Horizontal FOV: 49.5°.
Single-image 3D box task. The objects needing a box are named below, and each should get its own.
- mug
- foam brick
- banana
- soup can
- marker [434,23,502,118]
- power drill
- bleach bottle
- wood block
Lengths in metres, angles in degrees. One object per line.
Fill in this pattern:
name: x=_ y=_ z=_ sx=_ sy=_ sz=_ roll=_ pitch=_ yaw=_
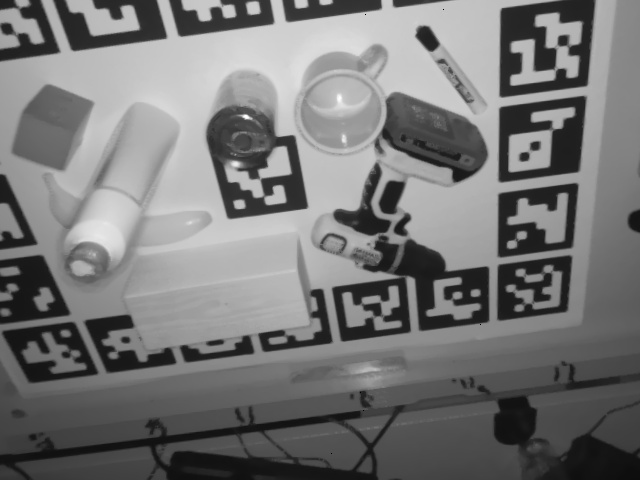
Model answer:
mug: x=0.044 y=-0.147 z=0.717 sx=0.094 sy=0.082 sz=0.116 roll=33 pitch=113 yaw=-19
foam brick: x=-0.267 y=-0.125 z=0.718 sx=0.053 sy=0.078 sz=0.050 roll=22 pitch=122 yaw=-19
banana: x=-0.208 y=-0.015 z=0.812 sx=0.198 sy=0.039 sz=0.073 roll=8 pitch=109 yaw=-6
soup can: x=-0.062 y=-0.123 z=0.708 sx=0.068 sy=0.103 sz=0.067 roll=-1 pitch=127 yaw=0
marker: x=0.158 y=-0.181 z=0.744 sx=0.019 sy=0.020 sz=0.121 roll=-34 pitch=118 yaw=15
power drill: x=0.107 y=-0.042 z=0.812 sx=0.185 sy=0.058 sz=0.184 roll=20 pitch=121 yaw=-12
bleach bottle: x=-0.181 y=-0.047 z=0.669 sx=0.068 sy=0.252 sz=0.101 roll=19 pitch=122 yaw=-15
wood block: x=-0.117 y=0.061 z=0.841 sx=0.206 sy=0.091 sz=0.089 roll=-7 pitch=122 yaw=1
